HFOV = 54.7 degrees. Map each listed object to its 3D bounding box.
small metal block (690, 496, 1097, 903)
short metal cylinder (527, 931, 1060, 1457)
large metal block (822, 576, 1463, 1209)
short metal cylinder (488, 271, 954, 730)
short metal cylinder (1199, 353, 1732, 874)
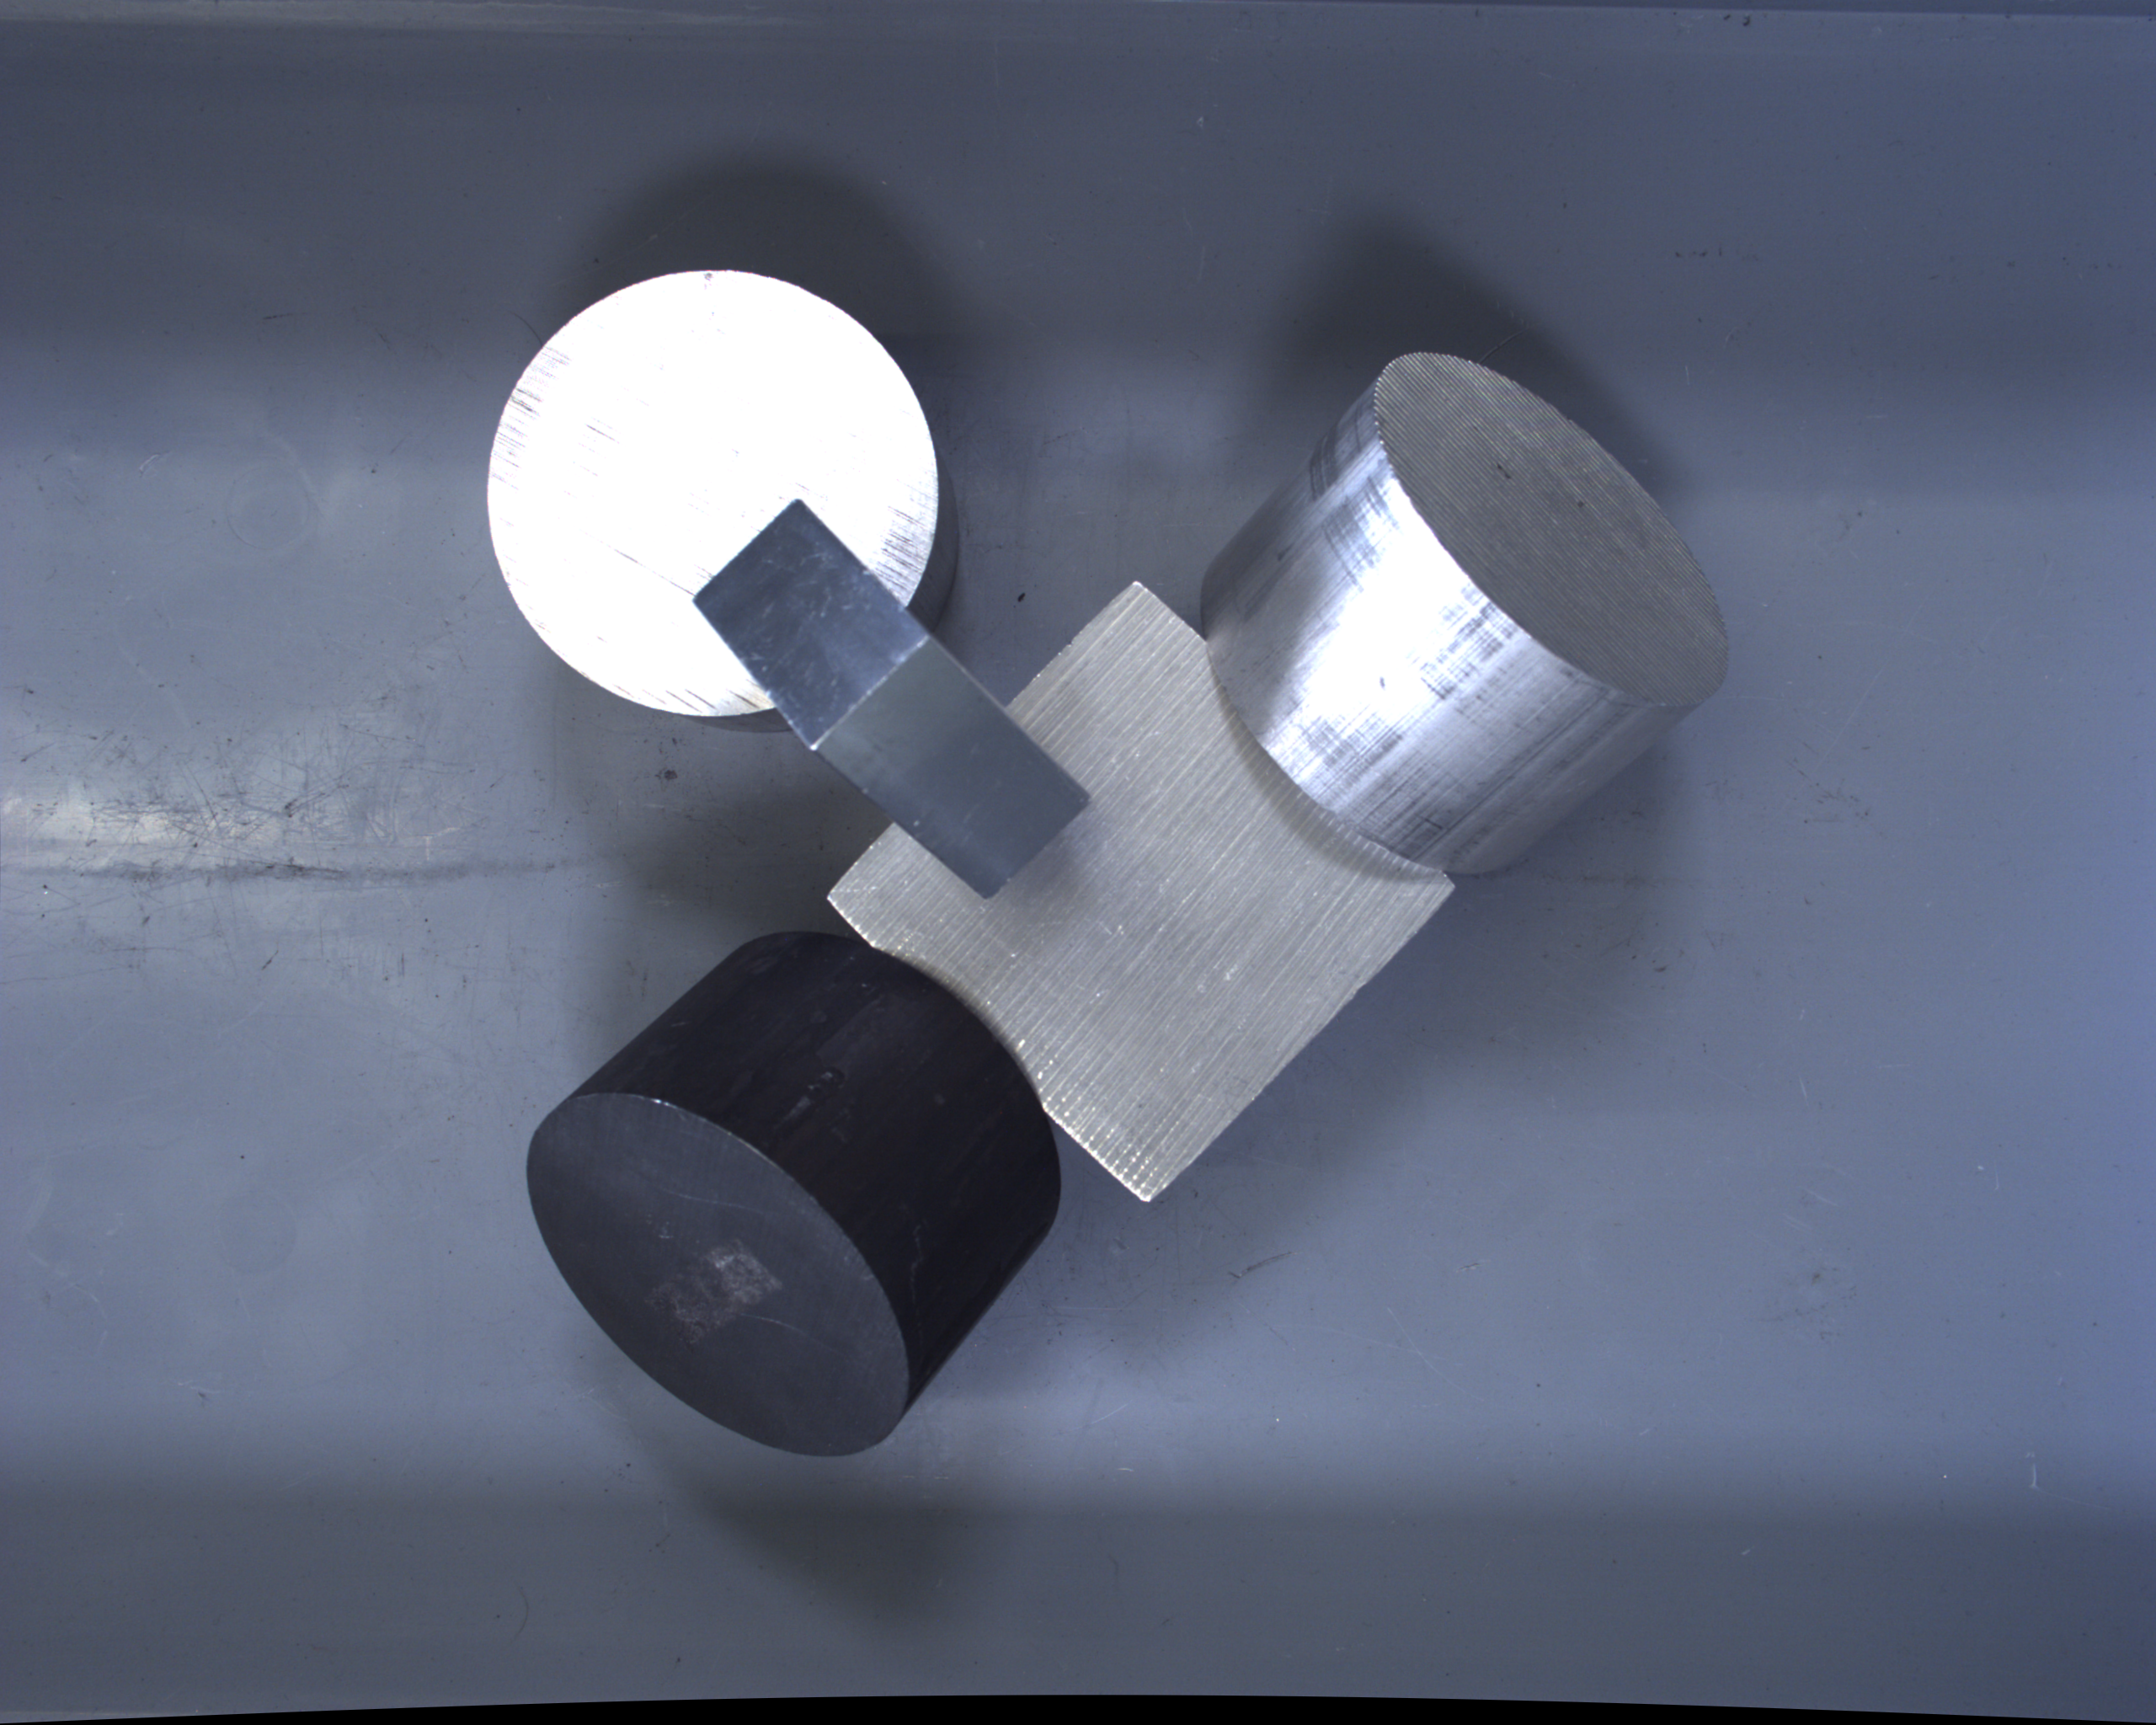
[{"bbox_3d":[-0.031,-0.027,0.347,0.025,0.050,0.050,-45,47,2],"label":"small metal block"},{"bbox_3d":[-0.051,0.059,0.376,0.080,0.050,0.079,18,130,23],"label":"short metal cylinder"},{"bbox_3d":[0.012,0.005,0.395,0.080,0.050,0.080,44,90,0],"label":"large metal block"},{"bbox_3d":[-0.065,-0.066,0.397,0.081,0.050,0.079,0,90,0],"label":"short metal cylinder"},{"bbox_3d":[0.069,-0.045,0.376,0.080,0.080,0.050,43,129,0],"label":"short metal cylinder"}]
